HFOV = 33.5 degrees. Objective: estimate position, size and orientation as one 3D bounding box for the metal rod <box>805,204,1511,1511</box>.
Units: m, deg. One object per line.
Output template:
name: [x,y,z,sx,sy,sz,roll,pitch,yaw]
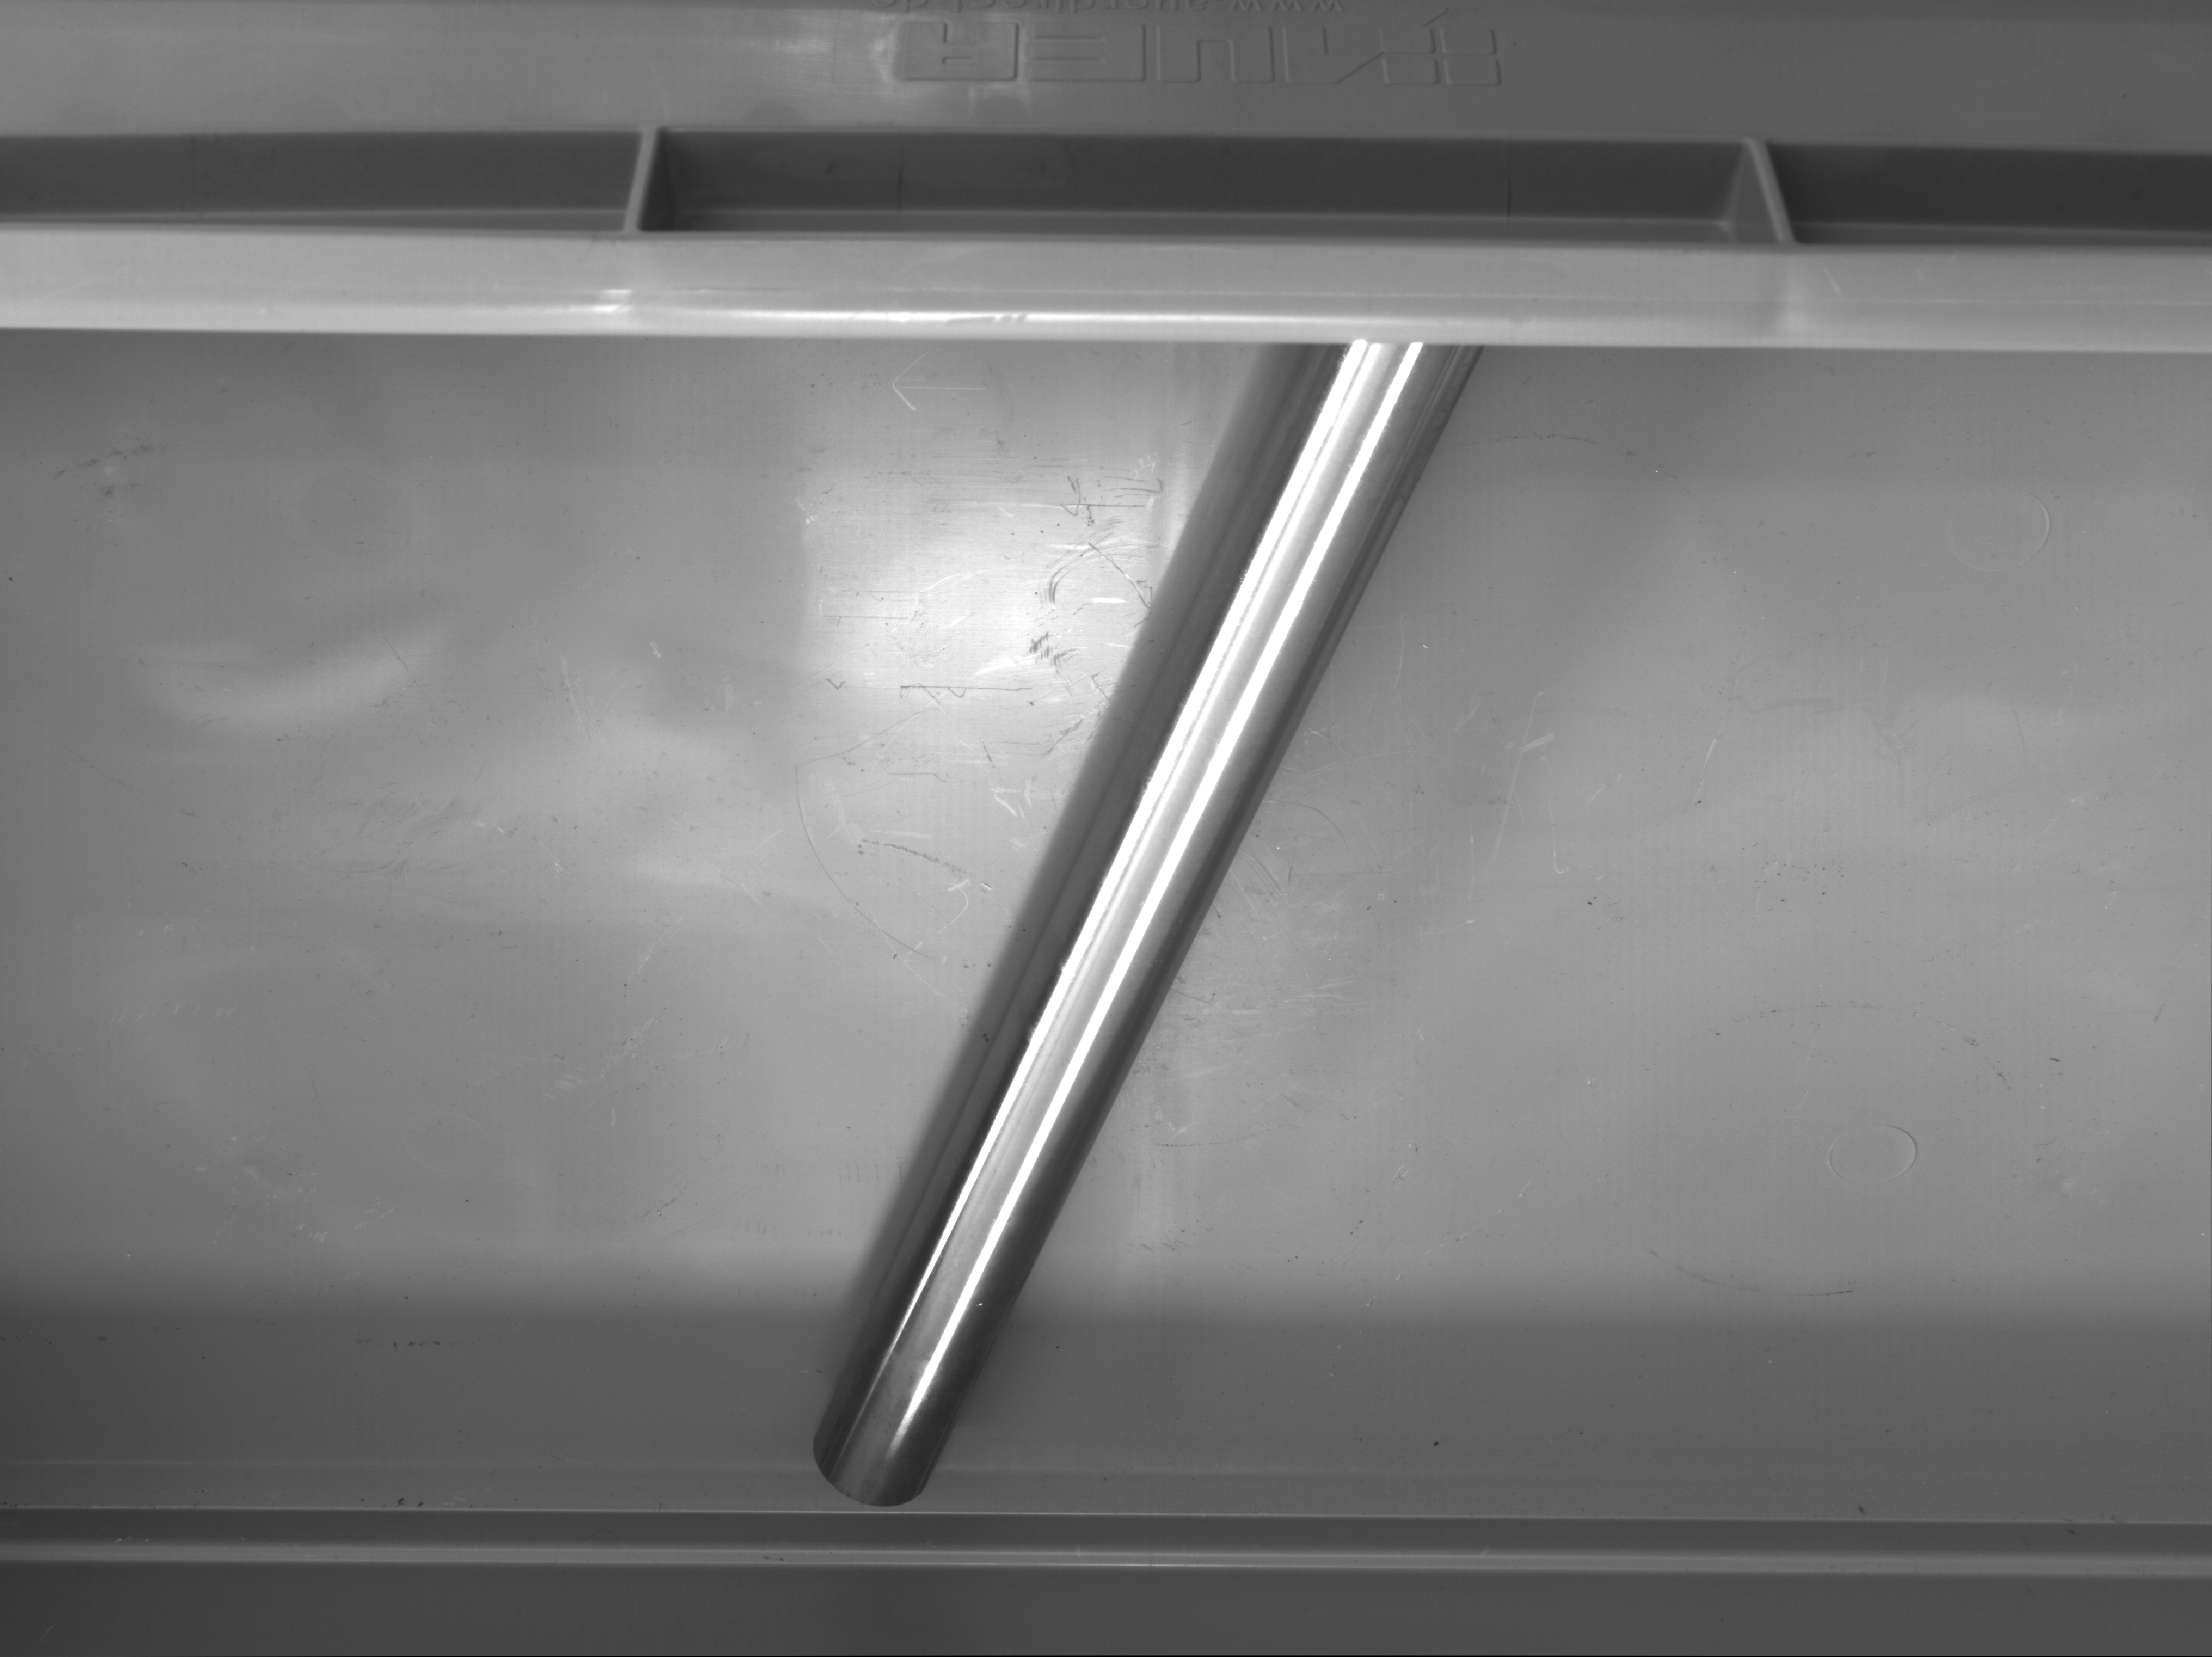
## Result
metal rod: [0.001,0.020,0.654,0.025,0.025,0.300,15,128,-12]
